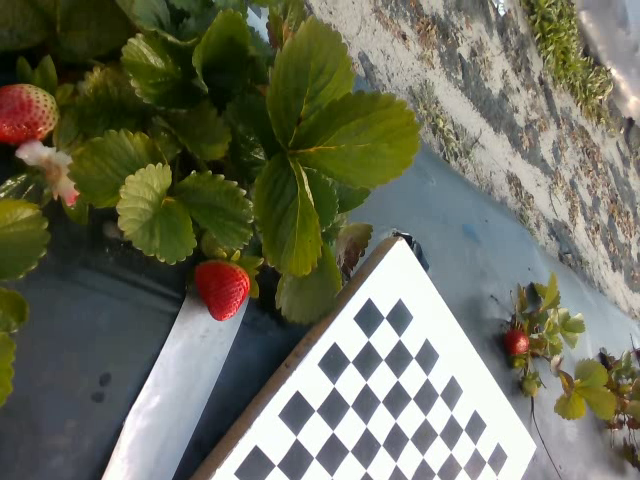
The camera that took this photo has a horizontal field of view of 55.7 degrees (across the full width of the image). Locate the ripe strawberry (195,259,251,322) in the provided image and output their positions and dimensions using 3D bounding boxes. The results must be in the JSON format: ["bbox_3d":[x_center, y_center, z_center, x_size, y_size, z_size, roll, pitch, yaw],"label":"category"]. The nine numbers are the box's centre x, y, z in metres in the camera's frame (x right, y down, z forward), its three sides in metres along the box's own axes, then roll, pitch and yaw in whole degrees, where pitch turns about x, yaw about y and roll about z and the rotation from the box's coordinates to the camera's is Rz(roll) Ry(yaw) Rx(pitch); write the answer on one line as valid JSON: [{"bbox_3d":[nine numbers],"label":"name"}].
[{"bbox_3d":[-0.061,0.036,0.385,0.035,0.055,0.050,-12,-51,35],"label":"ripe strawberry"}]
